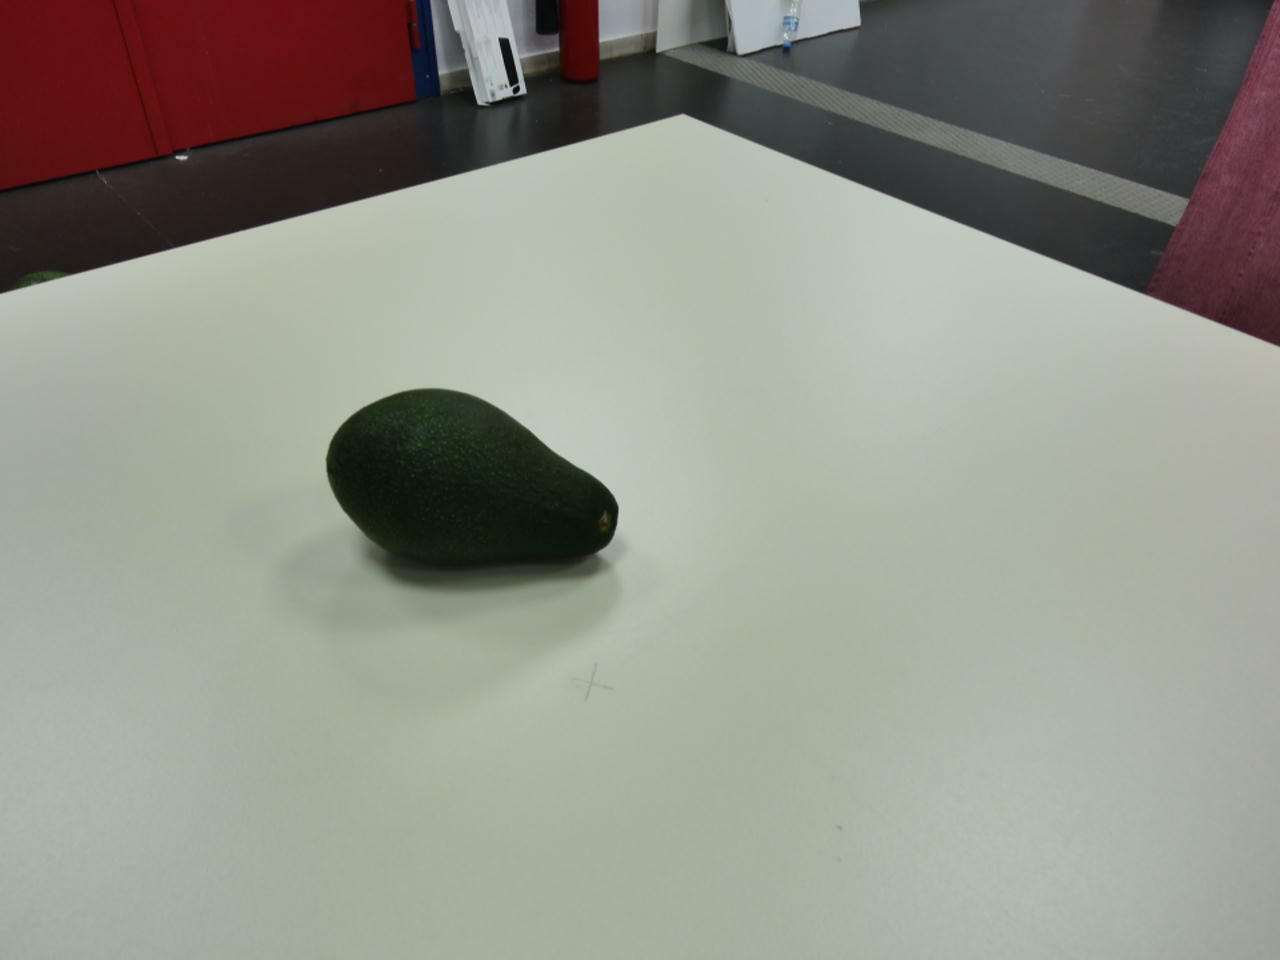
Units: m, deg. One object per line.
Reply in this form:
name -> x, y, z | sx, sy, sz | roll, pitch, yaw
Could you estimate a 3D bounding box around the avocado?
avocado -> -0.069, 0.002, 0.400 | 0.110, 0.071, 0.072 | 17, 40, 21
